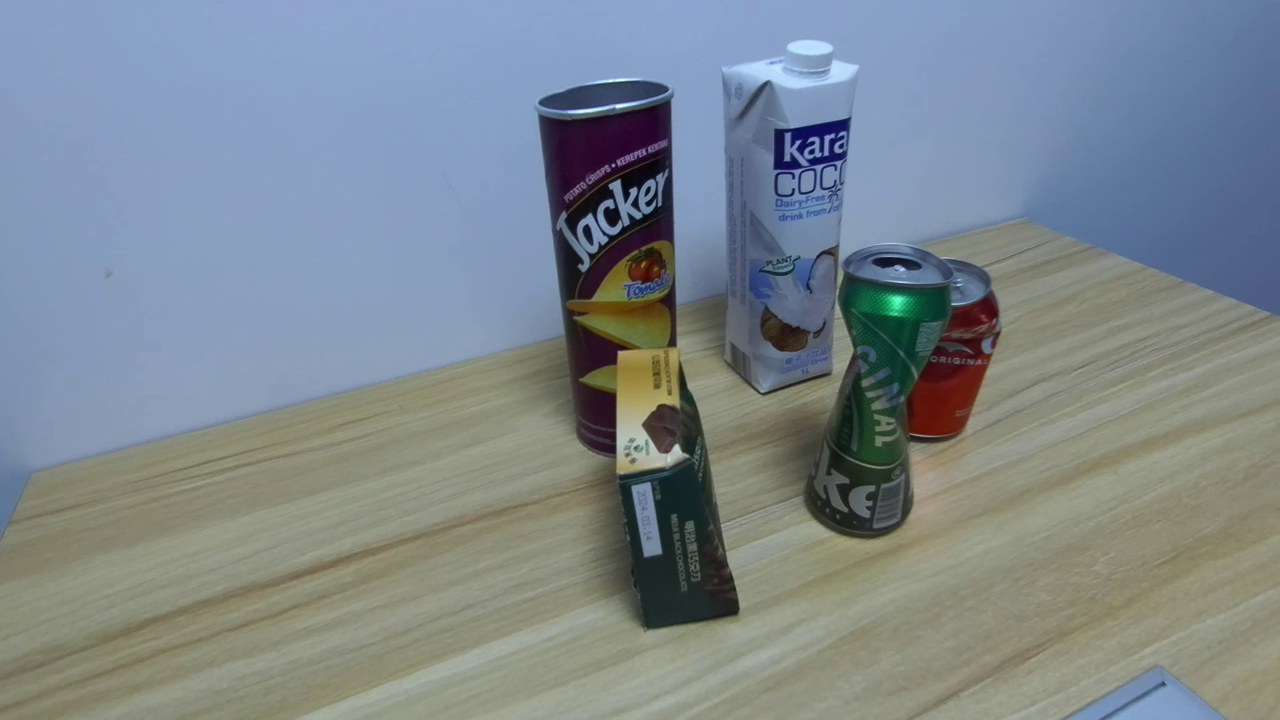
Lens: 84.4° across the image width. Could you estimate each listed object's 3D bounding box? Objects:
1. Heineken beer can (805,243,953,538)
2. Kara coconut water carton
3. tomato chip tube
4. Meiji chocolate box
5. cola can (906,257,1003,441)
[{"bbox_3d":[0.132,0.023,0.399,0.078,0.164,0.065,-19,35,-30],"label":"Heineken beer can"},{"bbox_3d":[0.103,-0.097,0.511,0.077,0.245,0.075,-14,31,-17],"label":"Kara coconut water carton"},{"bbox_3d":[-0.013,-0.050,0.460,0.080,0.234,0.076,-7,30,-5],"label":"tomato chip tube"},{"bbox_3d":[0.019,0.066,0.388,0.058,0.111,0.113,-8,31,-1],"label":"Meiji chocolate box"},{"bbox_3d":[0.203,-0.008,0.485,0.072,0.117,0.065,8,37,20],"label":"cola can"}]
